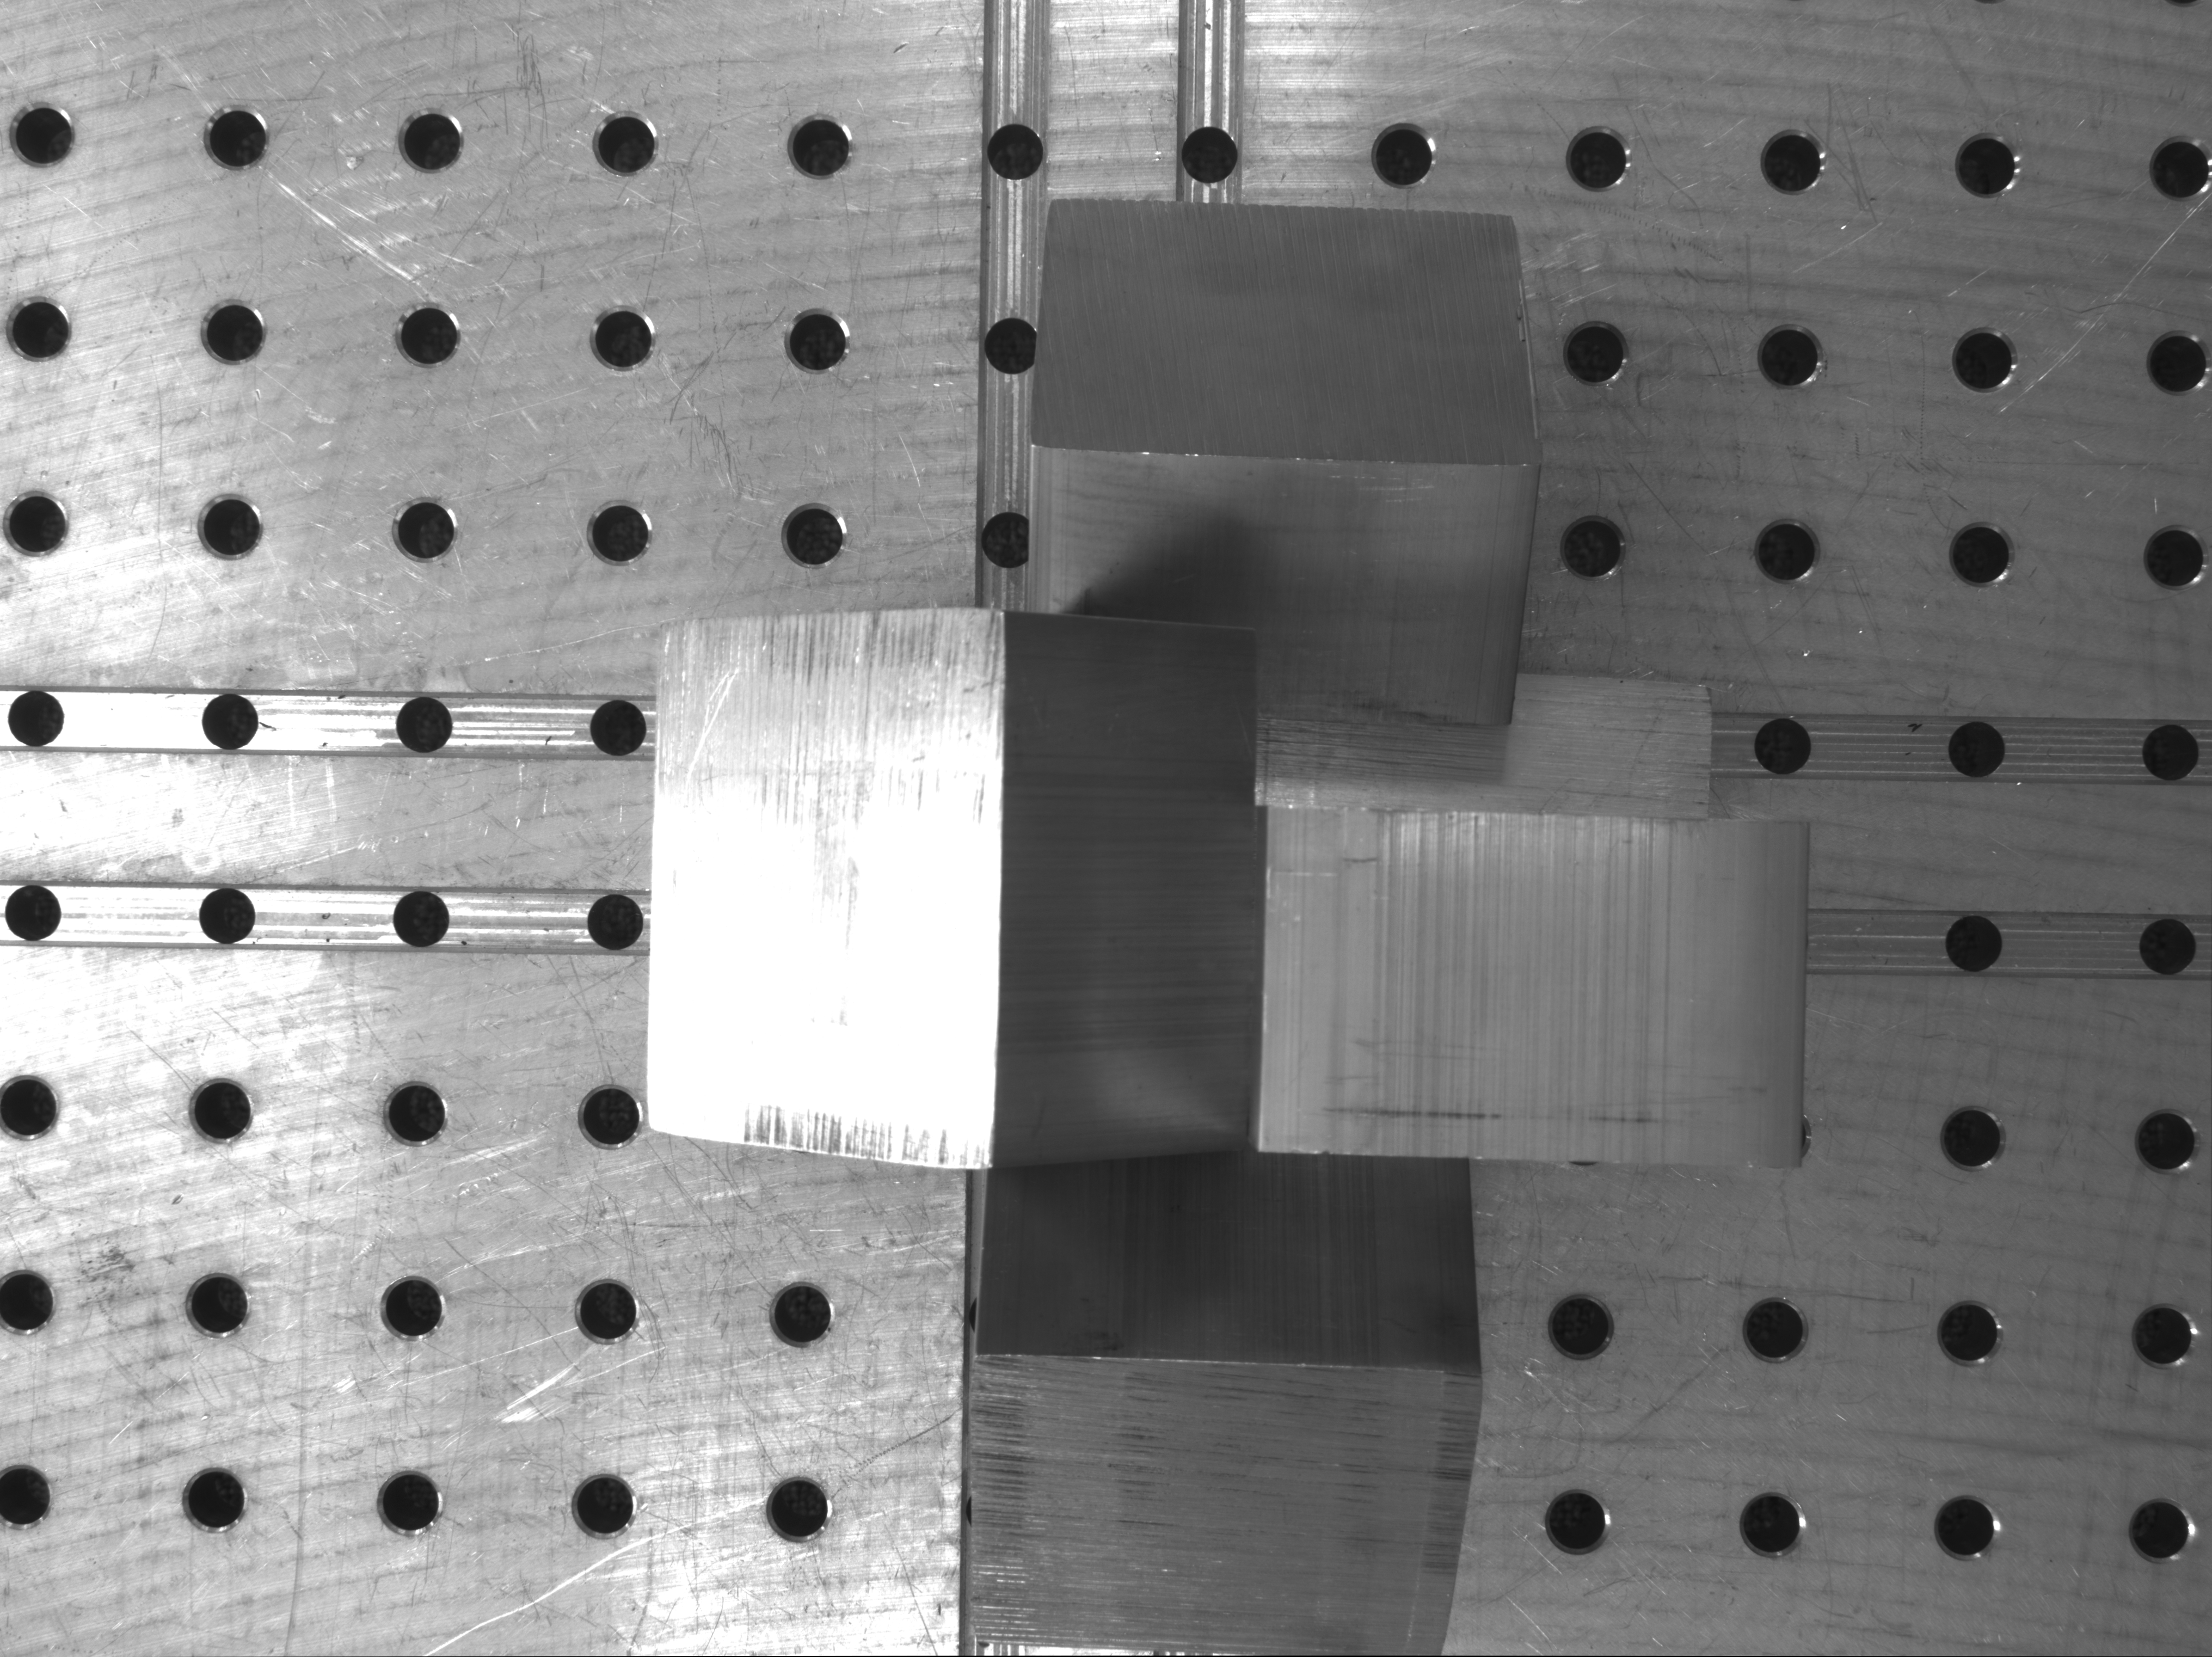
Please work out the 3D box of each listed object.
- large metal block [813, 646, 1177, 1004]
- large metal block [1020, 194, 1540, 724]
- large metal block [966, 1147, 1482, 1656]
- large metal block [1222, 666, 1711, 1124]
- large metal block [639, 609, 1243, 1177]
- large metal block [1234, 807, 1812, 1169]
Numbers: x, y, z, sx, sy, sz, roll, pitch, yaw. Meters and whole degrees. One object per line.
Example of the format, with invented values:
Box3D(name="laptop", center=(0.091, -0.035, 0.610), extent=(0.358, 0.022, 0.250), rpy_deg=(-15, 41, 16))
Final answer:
Box3D(name="large metal block", center=(-0.026, 0.010, 0.636), extent=(0.080, 0.050, 0.080), rpy_deg=(7, 90, 0))
Box3D(name="large metal block", center=(0.028, -0.063, 0.614), extent=(0.080, 0.080, 0.050), rpy_deg=(2, 128, 0))
Box3D(name="large metal block", center=(0.018, 0.095, 0.615), extent=(0.080, 0.050, 0.080), rpy_deg=(2, 134, 0))
Box3D(name="large metal block", center=(0.059, 0.014, 0.635), extent=(0.080, 0.050, 0.080), rpy_deg=(3, 90, 0))
Box3D(name="large metal block", center=(-0.026, 0.009, 0.563), extent=(0.080, 0.050, 0.080), rpy_deg=(1, 90, 45))
Box3D(name="large metal block", center=(0.062, 0.023, 0.571), extent=(0.080, 0.080, 0.050), rpy_deg=(2, 90, 0))
